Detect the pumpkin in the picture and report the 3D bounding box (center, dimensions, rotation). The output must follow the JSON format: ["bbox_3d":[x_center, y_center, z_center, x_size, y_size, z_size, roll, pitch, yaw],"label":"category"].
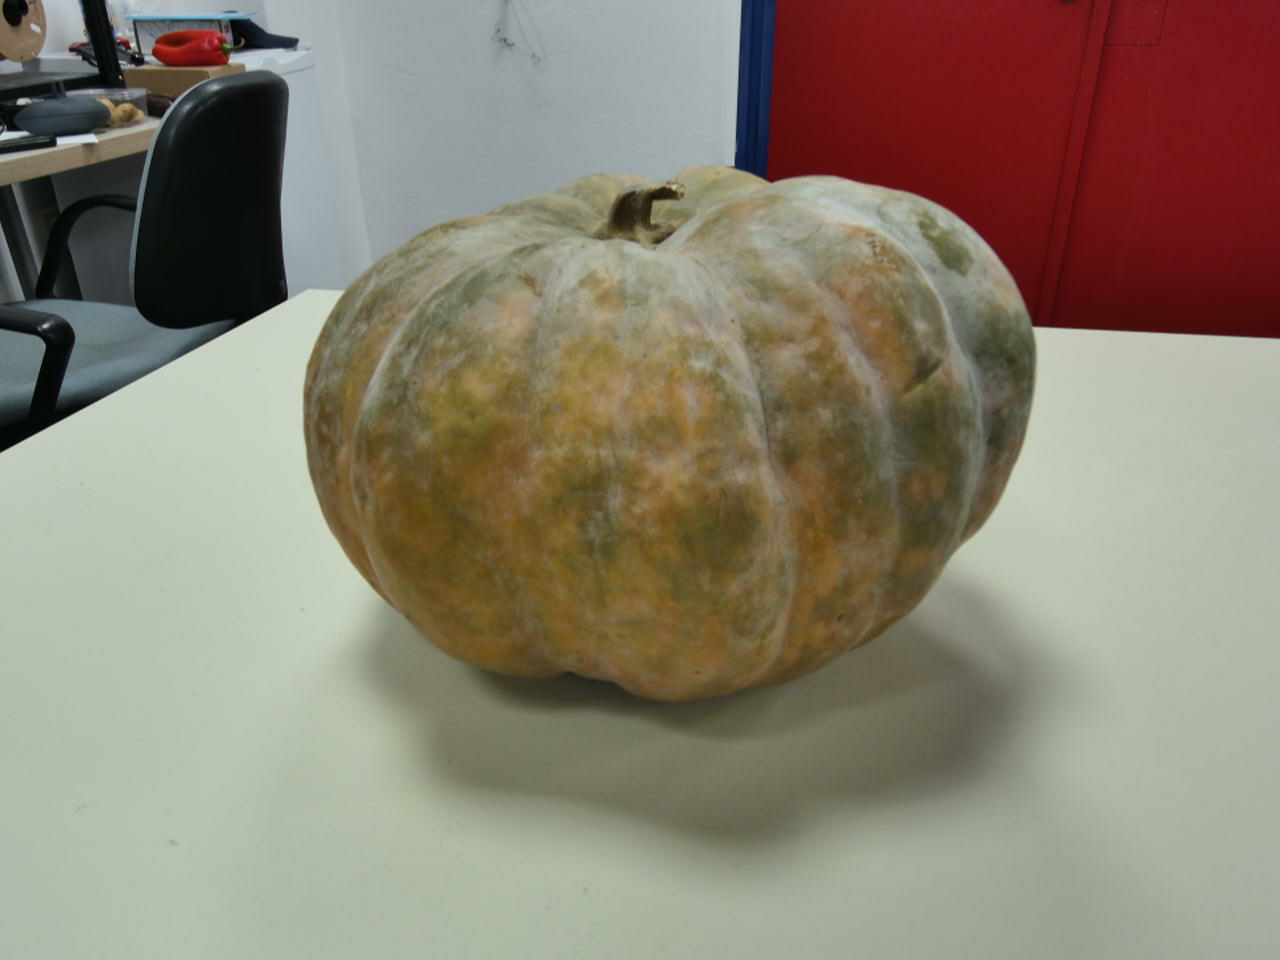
[{"bbox_3d":[0.003,-0.027,0.369,0.252,0.169,0.251,0,24,0],"label":"pumpkin"}]
